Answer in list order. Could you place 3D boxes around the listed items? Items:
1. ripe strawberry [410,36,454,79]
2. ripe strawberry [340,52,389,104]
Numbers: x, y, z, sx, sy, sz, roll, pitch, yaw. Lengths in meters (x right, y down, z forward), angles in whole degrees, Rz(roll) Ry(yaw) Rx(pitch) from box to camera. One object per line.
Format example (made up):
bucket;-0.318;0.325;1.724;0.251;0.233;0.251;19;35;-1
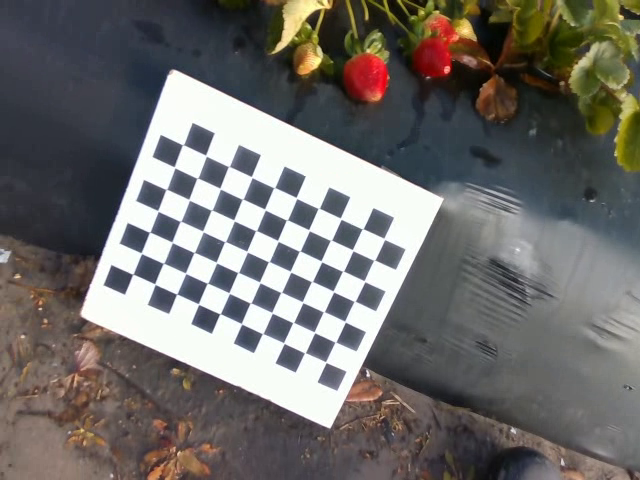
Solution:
ripe strawberry;0.124;-0.189;0.712;0.041;0.044;0.055;45;10;-44
ripe strawberry;0.051;-0.162;0.677;0.050;0.050;0.065;-15;43;5
